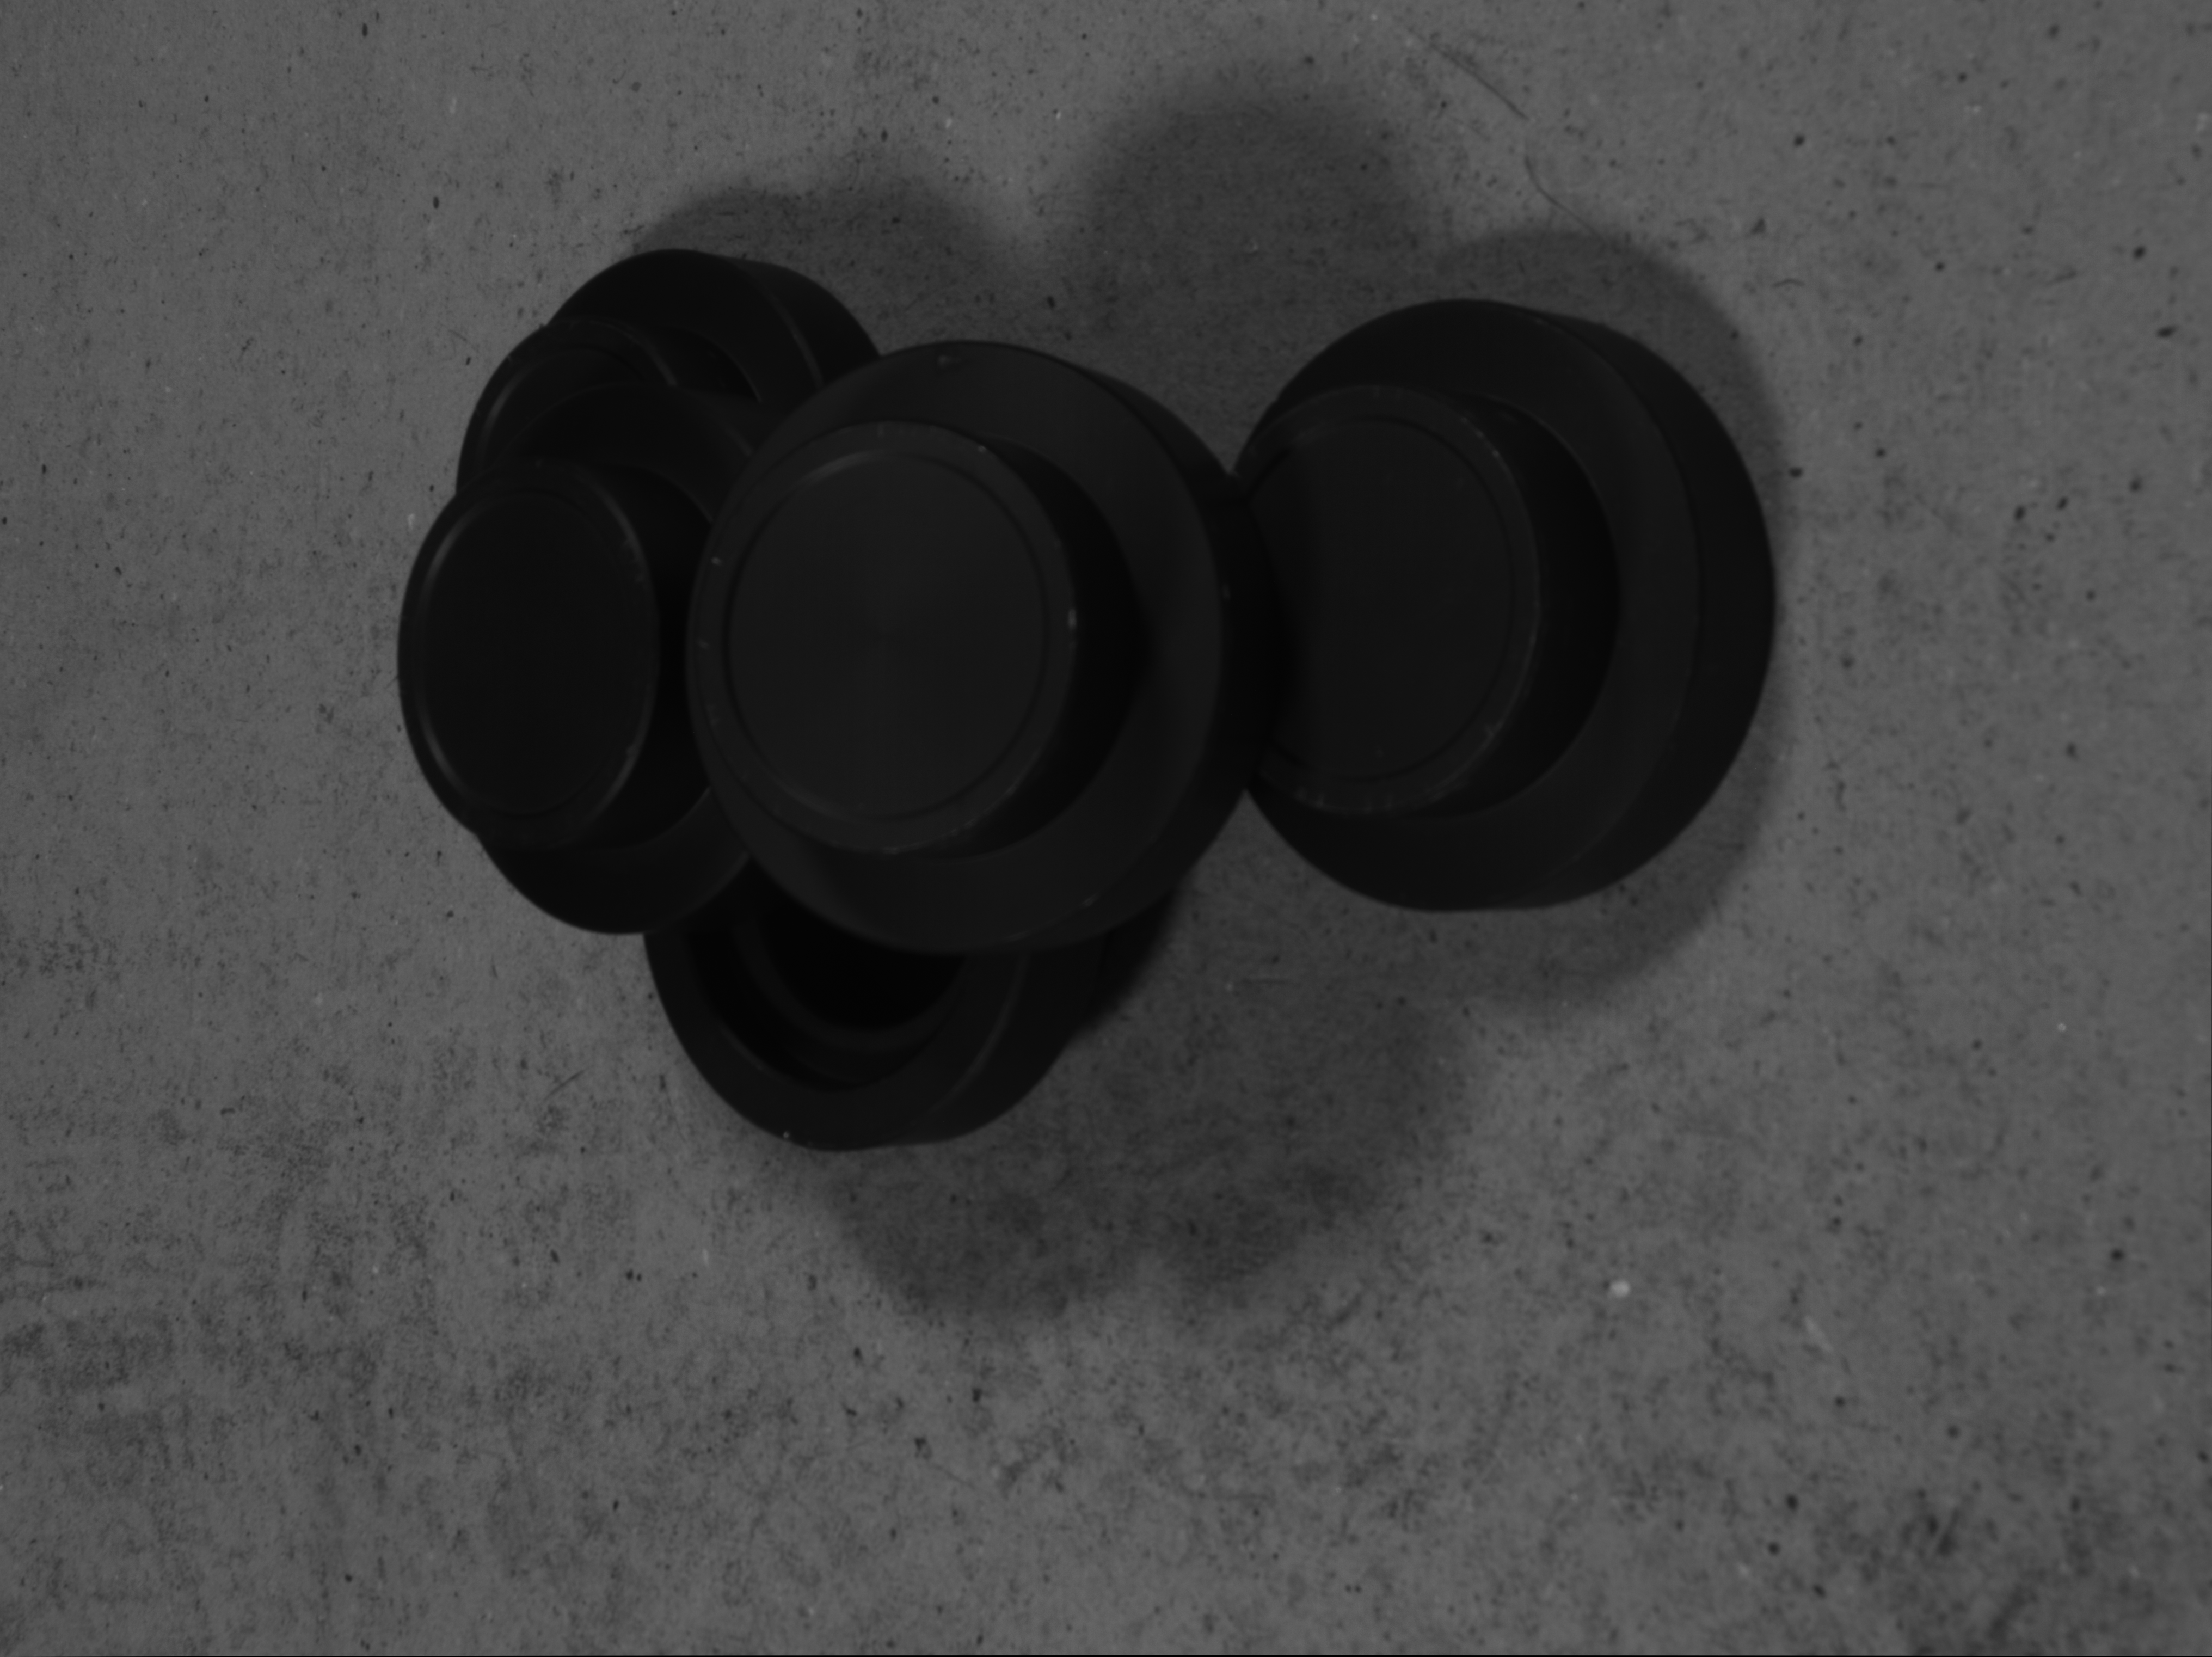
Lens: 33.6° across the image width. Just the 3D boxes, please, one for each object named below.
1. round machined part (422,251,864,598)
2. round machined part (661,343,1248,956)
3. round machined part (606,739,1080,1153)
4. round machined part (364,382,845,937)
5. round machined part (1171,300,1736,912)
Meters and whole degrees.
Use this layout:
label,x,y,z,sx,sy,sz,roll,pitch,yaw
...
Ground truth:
label,x,y,z,sx,sy,sz,roll,pitch,yaw
round machined part,-0.093,-0.062,0.701,0.098,0.042,0.098,0,90,39
round machined part,-0.030,-0.029,0.583,0.098,0.042,0.098,-1,88,26
round machined part,-0.042,0.008,0.660,0.098,0.042,0.098,0,90,39
round machined part,-0.093,-0.030,0.647,0.098,0.042,0.098,0,90,39
round machined part,0.048,-0.036,0.586,0.098,0.042,0.098,0,90,39
